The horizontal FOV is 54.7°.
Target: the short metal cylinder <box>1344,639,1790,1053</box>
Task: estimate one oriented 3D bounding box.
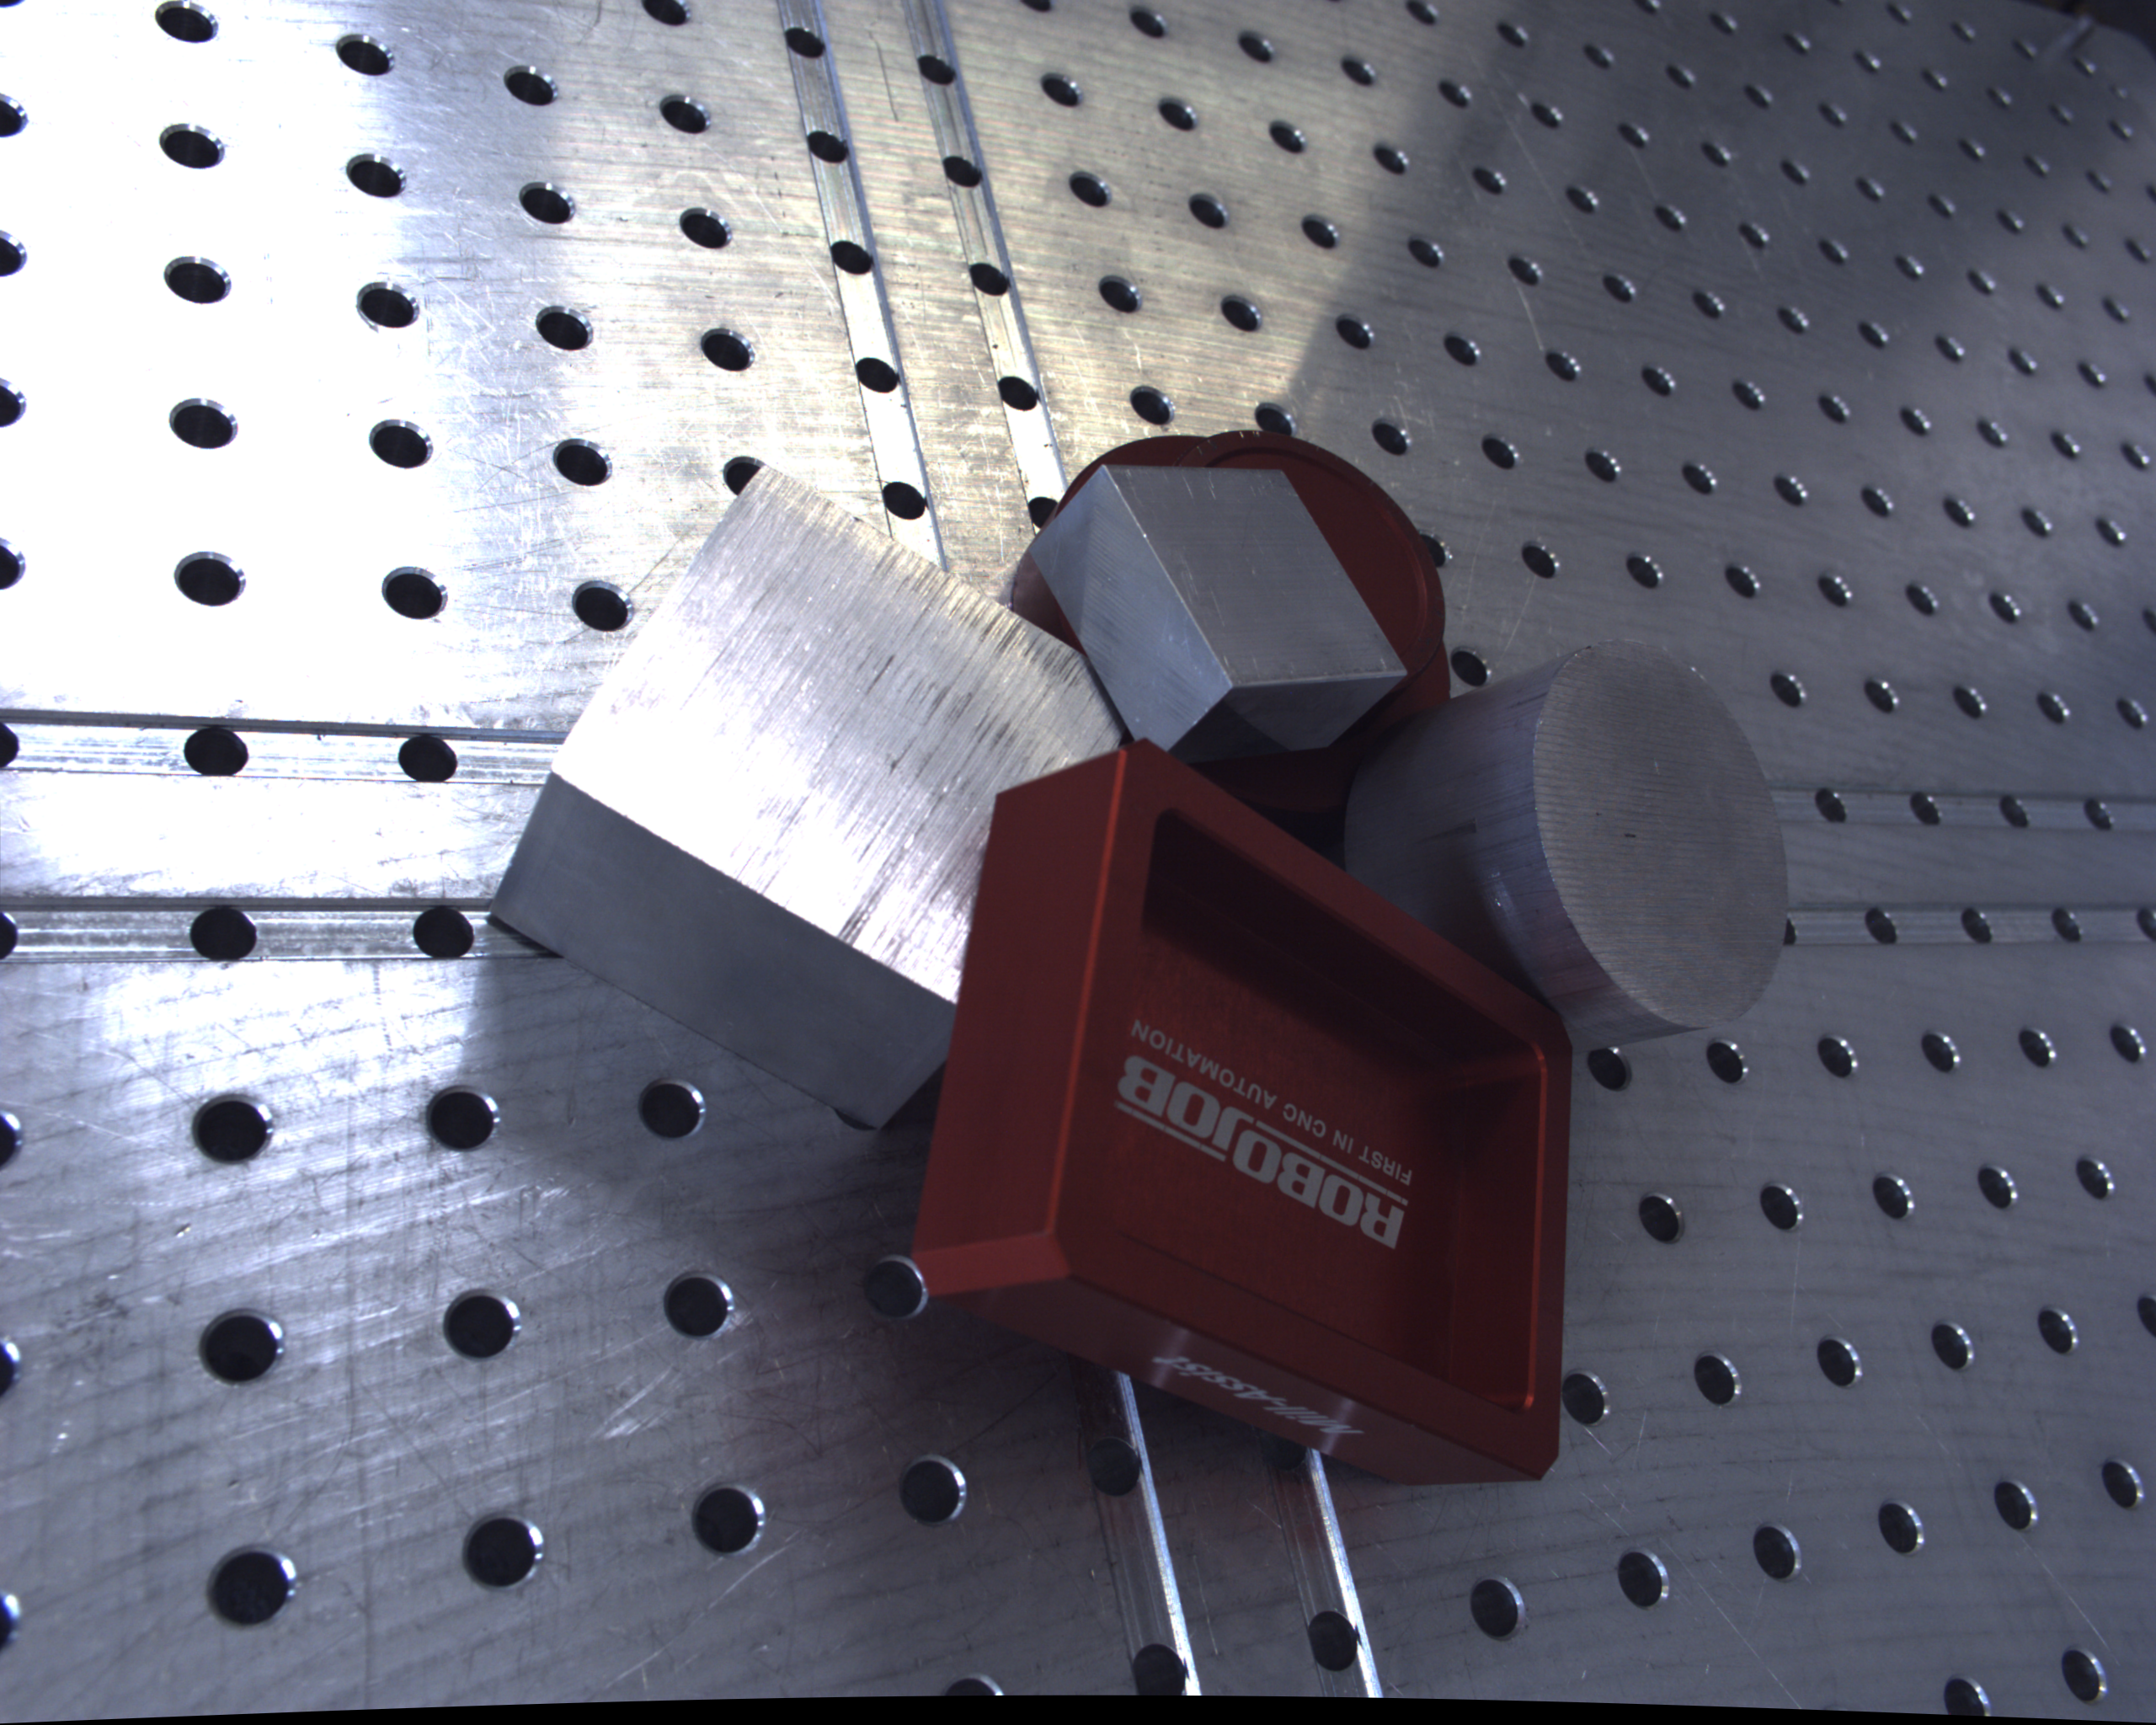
[{"bbox_3d":[0.102,-0.001,0.433,0.081,0.050,0.080,13,68,-36],"label":"short metal cylinder"}]

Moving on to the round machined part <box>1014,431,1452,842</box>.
[{"bbox_3d":[0.039,-0.054,0.451,0.099,0.042,0.098,14,56,-21],"label":"round machined part"}]

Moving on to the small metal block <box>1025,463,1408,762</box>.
[{"bbox_3d":[0.026,-0.047,0.391,0.050,0.025,0.050,-9,63,-44],"label":"small metal block"}]

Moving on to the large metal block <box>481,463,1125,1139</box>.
[{"bbox_3d":[-0.046,-0.011,0.374,0.080,0.050,0.080,31,52,-8],"label":"large metal block"}]

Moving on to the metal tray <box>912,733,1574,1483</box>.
[{"bbox_3d":[0.036,0.047,0.359,0.130,0.030,0.090,31,55,-37],"label":"metal tray"}]
